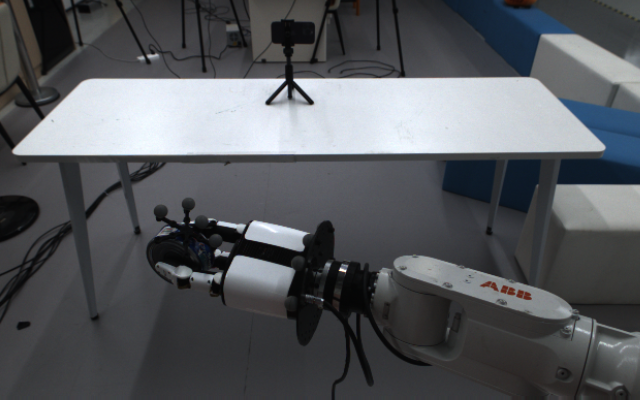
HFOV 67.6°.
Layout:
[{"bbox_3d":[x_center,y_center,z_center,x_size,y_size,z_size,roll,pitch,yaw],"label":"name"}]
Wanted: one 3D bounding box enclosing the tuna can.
[{"bbox_3d":[-0.187,0.076,0.648,0.085,0.085,0.034,12,35,14],"label":"tuna can"}]
